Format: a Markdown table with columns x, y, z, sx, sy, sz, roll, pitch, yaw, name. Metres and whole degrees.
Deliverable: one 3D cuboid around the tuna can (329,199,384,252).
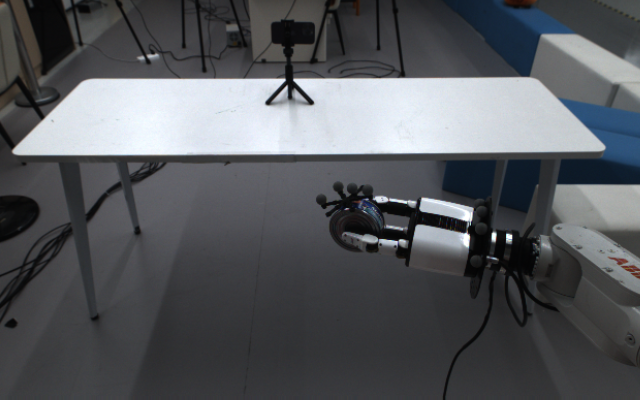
| x | y | z | sx | sy | sz | roll | pitch | yaw | name |
| --- | --- | --- | --- | --- | --- | --- | --- | --- | --- |
| 0.062 | 0.047 | 0.772 | 0.085 | 0.085 | 0.034 | 11 | 34 | 13 | tuna can |
